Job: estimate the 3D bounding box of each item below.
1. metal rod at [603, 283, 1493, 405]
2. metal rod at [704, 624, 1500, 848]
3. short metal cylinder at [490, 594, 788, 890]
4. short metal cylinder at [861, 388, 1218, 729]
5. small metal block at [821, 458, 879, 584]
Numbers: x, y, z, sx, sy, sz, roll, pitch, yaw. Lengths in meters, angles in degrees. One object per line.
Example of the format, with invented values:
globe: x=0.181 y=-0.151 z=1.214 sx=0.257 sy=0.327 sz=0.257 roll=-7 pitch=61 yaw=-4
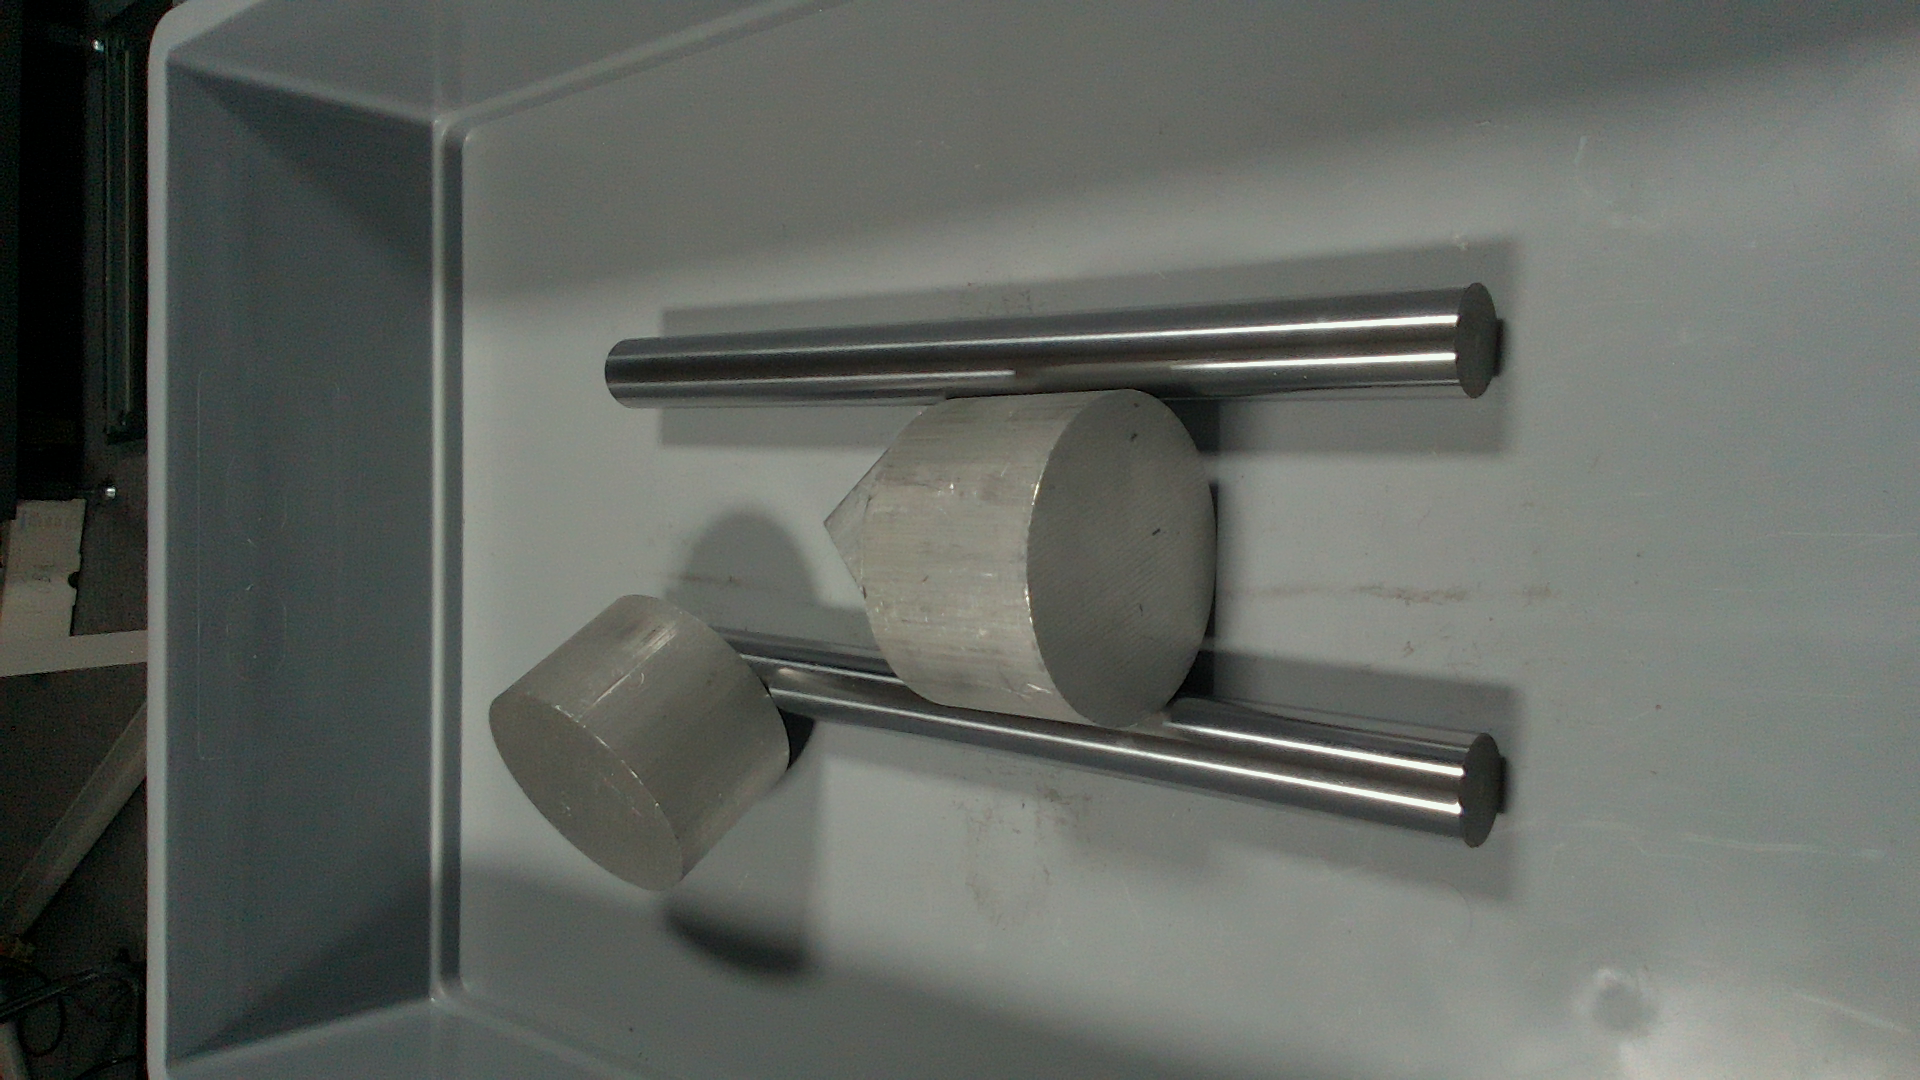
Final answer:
metal rod: x=-0.003 y=-0.052 z=0.395 sx=0.299 sy=0.025 sz=0.025 roll=4 pitch=93 yaw=40
metal rod: x=-0.002 y=0.047 z=0.394 sx=0.299 sy=0.025 sz=0.025 roll=4 pitch=93 yaw=40
short metal cylinder: x=-0.102 y=0.064 z=0.440 sx=0.080 sy=0.050 sz=0.080 roll=24 pitch=138 yaw=24
short metal cylinder: x=0.021 y=0.004 z=0.339 sx=0.050 sy=0.080 sz=0.080 roll=2 pitch=91 yaw=40
small metal block: x=-0.007 y=-0.001 z=0.399 sx=0.050 sy=0.025 sz=0.050 roll=-46 pitch=63 yaw=31
